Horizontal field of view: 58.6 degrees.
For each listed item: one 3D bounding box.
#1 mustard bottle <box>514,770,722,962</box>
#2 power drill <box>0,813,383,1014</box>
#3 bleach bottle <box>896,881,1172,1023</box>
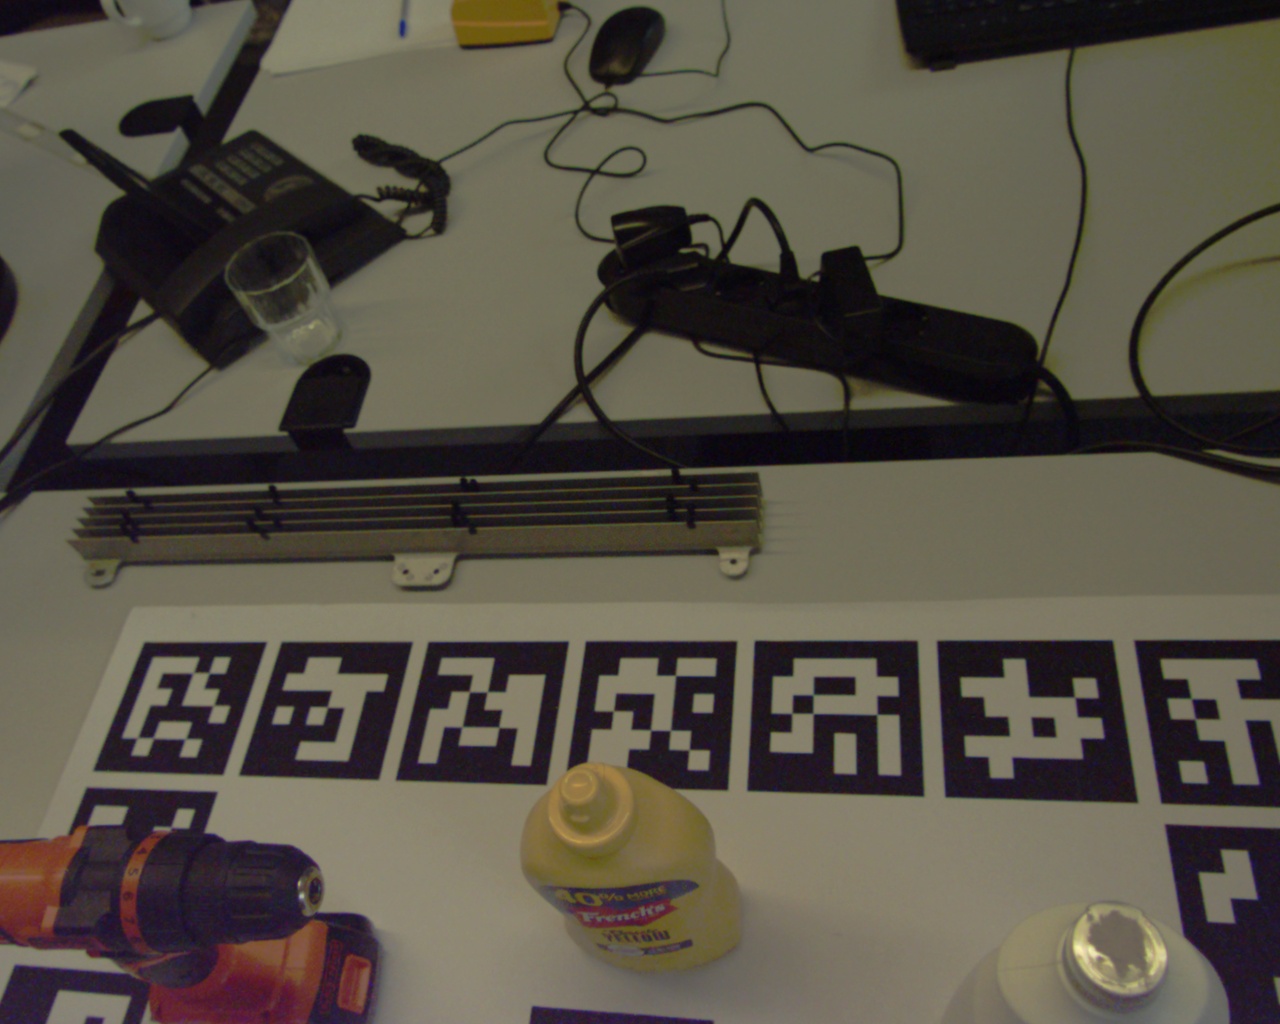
[{"bbox_3d":[-0.014,0.183,0.597,0.096,0.190,0.058,-7,54,7],"label":"mustard bottle"},{"bbox_3d":[-0.209,0.209,0.591,0.186,0.185,0.057,-8,53,13],"label":"power drill"},{"bbox_3d":[0.161,0.211,0.490,0.103,0.249,0.068,6,56,17],"label":"bleach bottle"}]
